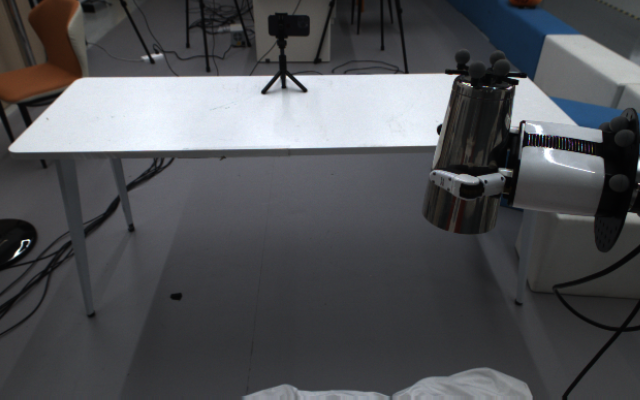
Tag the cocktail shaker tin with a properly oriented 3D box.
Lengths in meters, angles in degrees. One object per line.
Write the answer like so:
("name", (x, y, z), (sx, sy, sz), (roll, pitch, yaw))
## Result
("cocktail shaker tin", (0.181, -0.057, 0.575), (0.093, 0.170, 0.093), (2, 28, -1))
